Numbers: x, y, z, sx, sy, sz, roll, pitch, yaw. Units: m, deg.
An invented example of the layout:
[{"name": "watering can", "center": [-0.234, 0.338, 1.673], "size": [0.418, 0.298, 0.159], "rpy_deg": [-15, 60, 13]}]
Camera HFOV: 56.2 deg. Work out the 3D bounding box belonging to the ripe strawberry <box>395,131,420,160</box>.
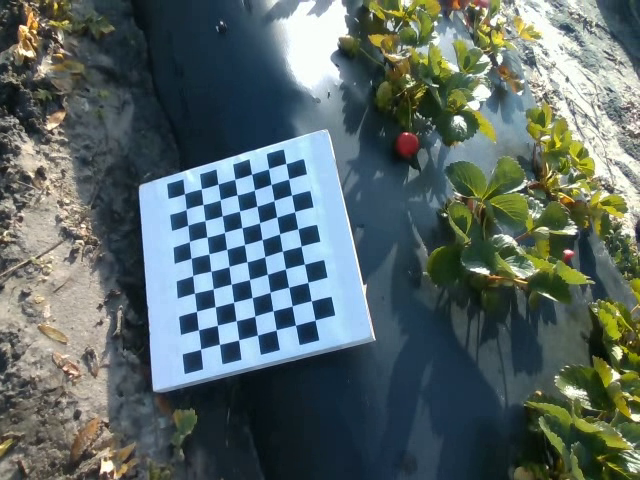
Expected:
[{"name": "ripe strawberry", "center": [0.110, -0.118, 0.764], "size": [0.030, 0.033, 0.044], "rpy_deg": [12, 41, 22]}]
